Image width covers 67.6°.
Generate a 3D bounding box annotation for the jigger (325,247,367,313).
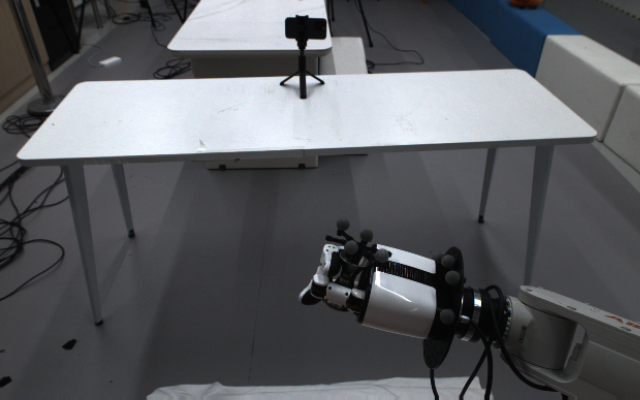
[{"bbox_3d":[0.035,0.105,0.631,0.043,0.071,0.043,18,17,-6],"label":"jigger"}]
